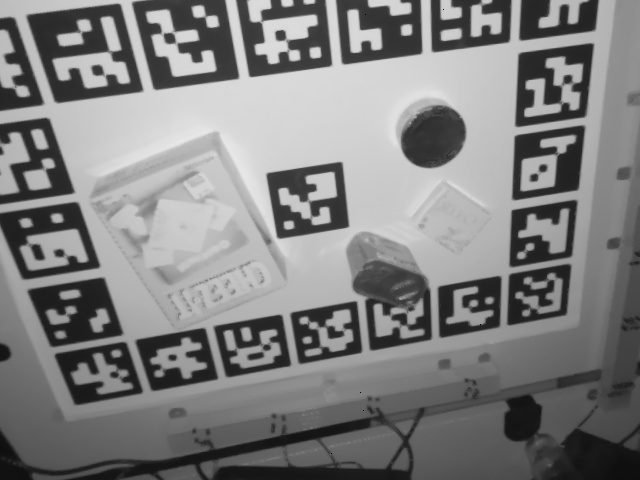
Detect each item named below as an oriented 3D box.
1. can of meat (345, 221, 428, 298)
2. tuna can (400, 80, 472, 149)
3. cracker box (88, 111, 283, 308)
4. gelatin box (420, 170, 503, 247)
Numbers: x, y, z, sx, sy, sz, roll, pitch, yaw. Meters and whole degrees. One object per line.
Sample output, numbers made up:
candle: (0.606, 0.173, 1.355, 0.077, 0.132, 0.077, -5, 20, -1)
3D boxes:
can of meat: (0.088, 0.024, 0.949, 0.103, 0.084, 0.057, 18, 116, -19)
tuna can: (0.145, -0.156, 0.872, 0.086, 0.034, 0.085, -4, 117, -7)
cracker box: (-0.163, -0.032, 0.881, 0.164, 0.072, 0.213, -22, 122, 6)
gelatin box: (0.192, -0.042, 0.950, 0.090, 0.030, 0.072, 31, 114, -20)
